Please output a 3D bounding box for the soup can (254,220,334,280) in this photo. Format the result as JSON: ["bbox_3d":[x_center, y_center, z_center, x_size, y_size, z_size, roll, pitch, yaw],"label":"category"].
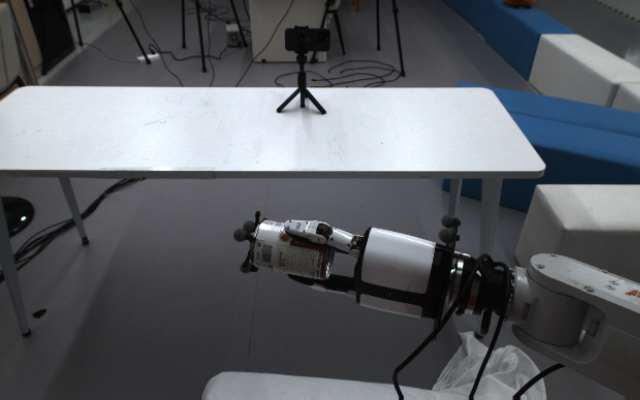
[{"bbox_3d":[-0.032,0.067,0.651,0.101,0.067,0.067,9,35,9],"label":"soup can"}]
